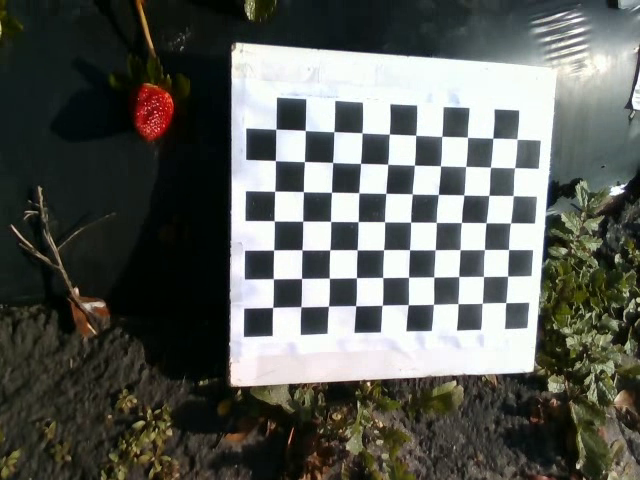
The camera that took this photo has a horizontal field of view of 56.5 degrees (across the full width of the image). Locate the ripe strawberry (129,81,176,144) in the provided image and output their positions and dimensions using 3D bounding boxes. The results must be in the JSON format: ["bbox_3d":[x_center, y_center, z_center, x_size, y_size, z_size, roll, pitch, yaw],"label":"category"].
[{"bbox_3d":[-0.047,-0.034,0.162,0.015,0.023,0.015,9,-47,-15],"label":"ripe strawberry"}]
